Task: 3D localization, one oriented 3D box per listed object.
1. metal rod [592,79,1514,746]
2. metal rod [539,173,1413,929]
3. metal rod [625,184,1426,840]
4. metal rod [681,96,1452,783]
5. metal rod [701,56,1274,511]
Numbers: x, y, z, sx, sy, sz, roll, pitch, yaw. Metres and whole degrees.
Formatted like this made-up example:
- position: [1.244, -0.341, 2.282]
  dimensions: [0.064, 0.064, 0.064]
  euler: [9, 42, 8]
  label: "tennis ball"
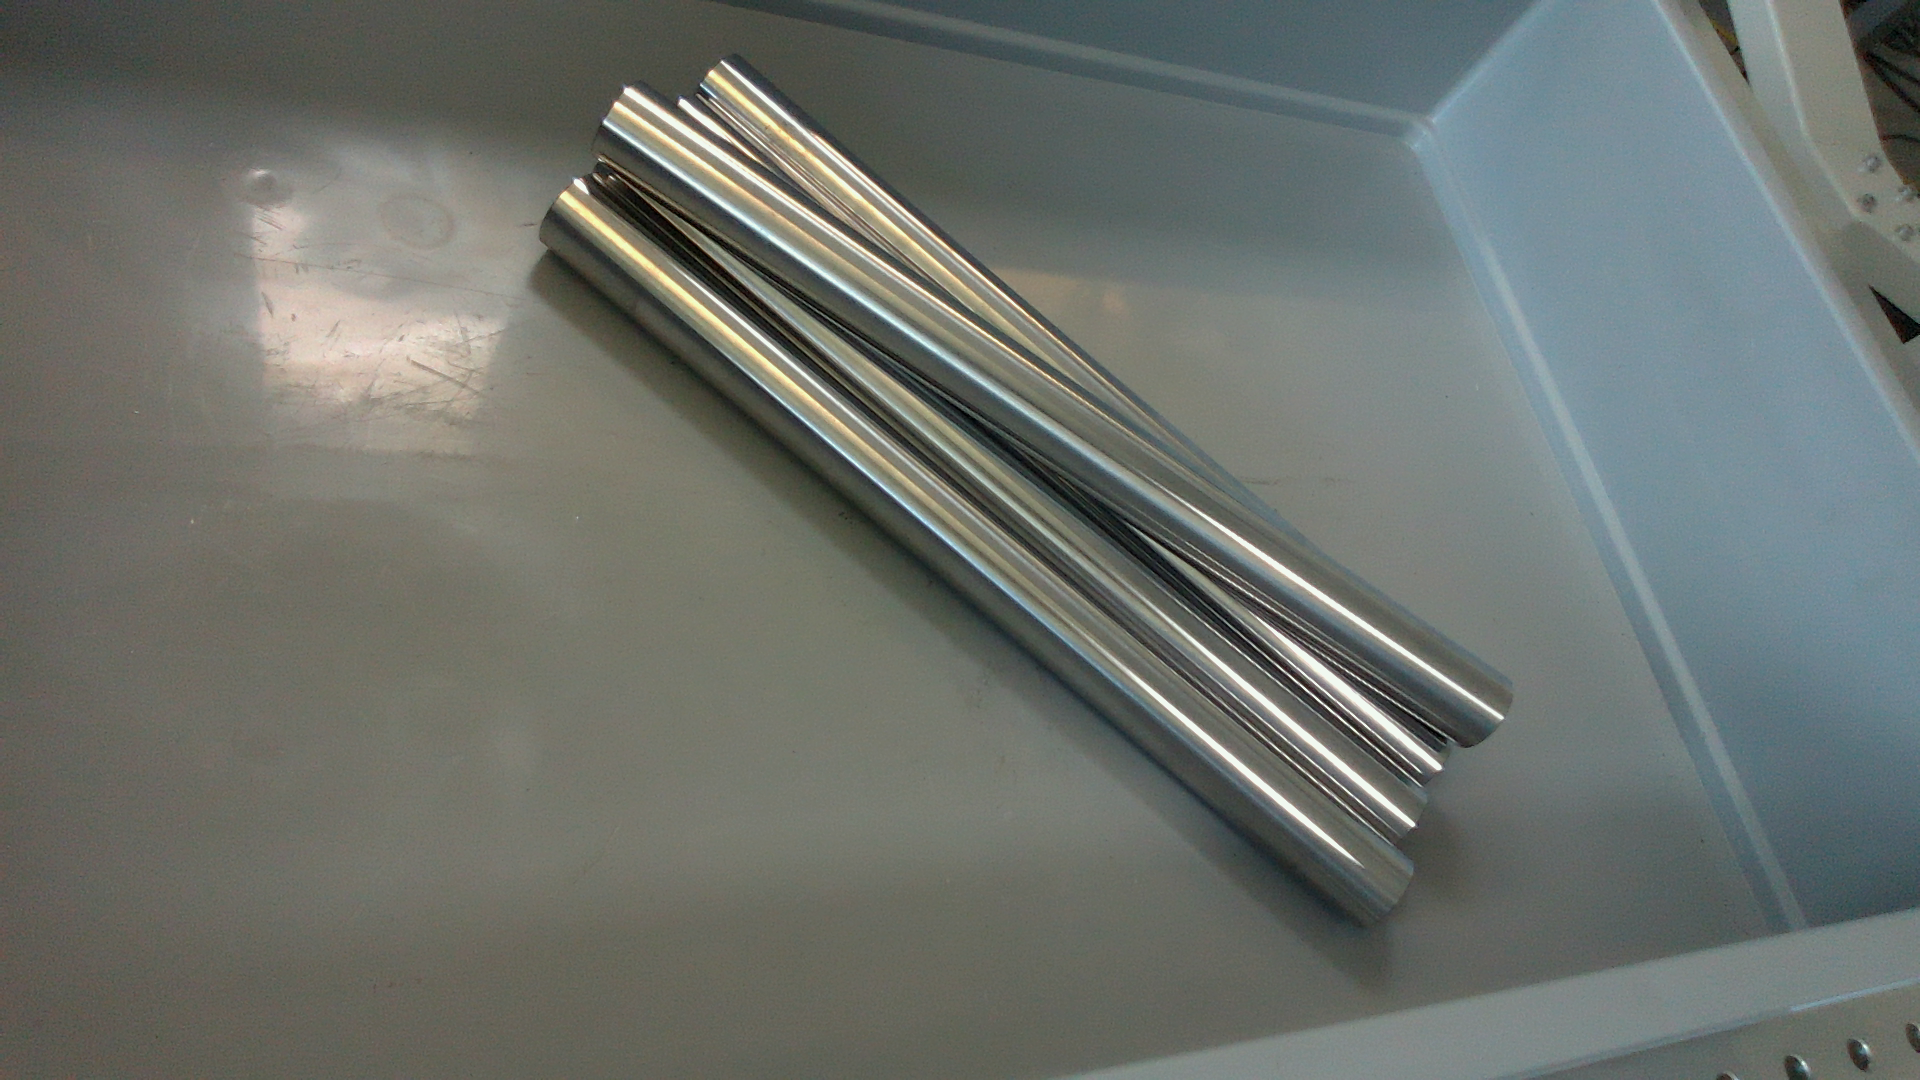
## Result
- position: [0.031, -0.032, 0.392]
  dimensions: [0.300, 0.025, 0.025]
  euler: [34, 51, -6]
  label: "metal rod"
- position: [0.005, 0.004, 0.389]
  dimensions: [0.300, 0.025, 0.025]
  euler: [40, 51, -1]
  label: "metal rod"
- position: [0.014, -0.014, 0.405]
  dimensions: [0.300, 0.025, 0.025]
  euler: [40, 51, -1]
  label: "metal rod"
- position: [0.027, -0.028, 0.420]
  dimensions: [0.300, 0.025, 0.025]
  euler: [40, 51, -1]
  label: "metal rod"
- position: [0.037, -0.045, 0.436]
  dimensions: [0.300, 0.025, 0.025]
  euler: [40, 51, -1]
  label: "metal rod"
